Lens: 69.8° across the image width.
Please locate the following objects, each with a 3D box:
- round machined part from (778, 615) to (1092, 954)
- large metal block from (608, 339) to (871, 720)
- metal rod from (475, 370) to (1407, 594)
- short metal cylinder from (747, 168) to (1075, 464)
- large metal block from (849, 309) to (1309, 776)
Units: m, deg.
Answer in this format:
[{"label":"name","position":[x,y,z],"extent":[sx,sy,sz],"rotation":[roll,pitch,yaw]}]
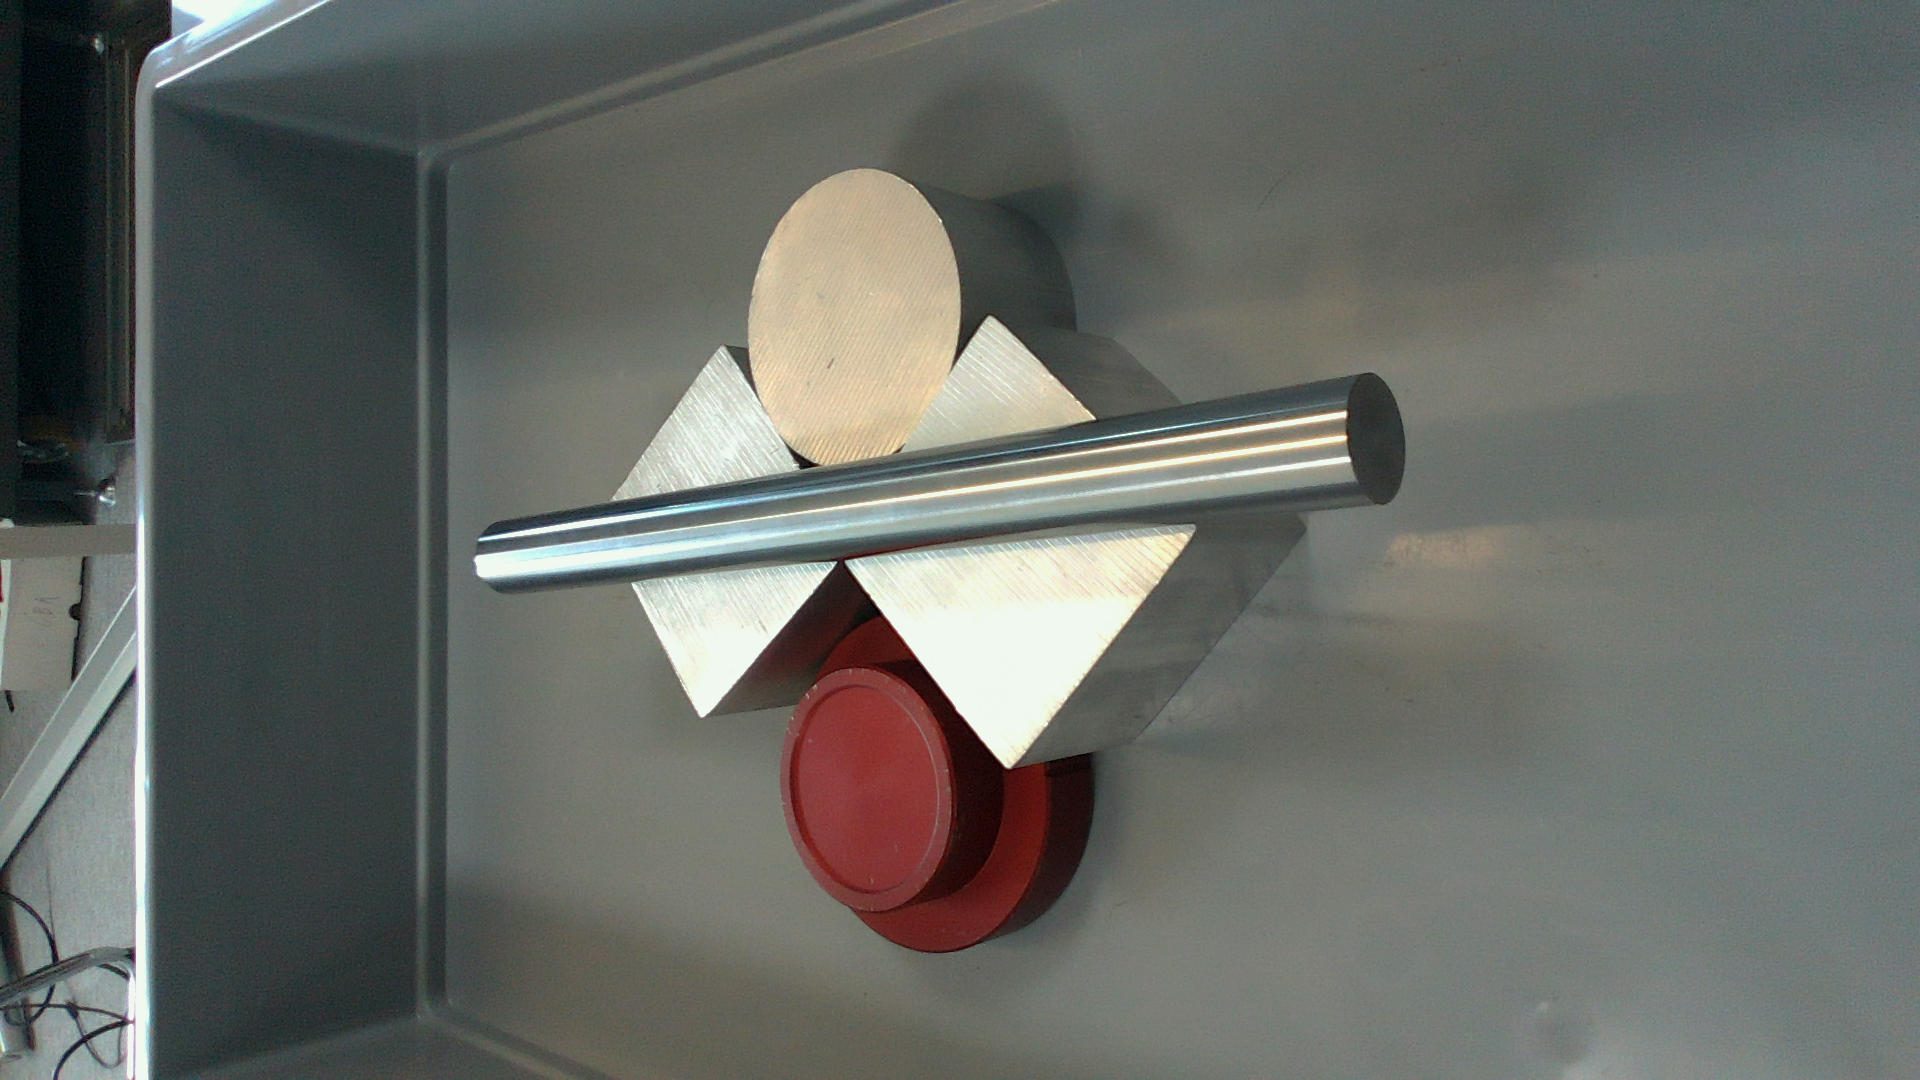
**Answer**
[{"label":"round machined part","position":[-0.014,0.069,0.393],"extent":[0.098,0.042,0.098],"rotation":[0,90,40]},{"label":"large metal block","position":[-0.058,-0.003,0.425],"extent":[0.080,0.050,0.080],"rotation":[-47,64,30]},{"label":"metal rod","position":[-0.035,-0.007,0.354],"extent":[0.299,0.025,0.025],"rotation":[-6,86,41]},{"label":"short metal cylinder","position":[-0.015,-0.060,0.389],"extent":[0.080,0.050,0.080],"rotation":[0,90,40]},{"label":"large metal block","position":[0.026,0.000,0.352],"extent":[0.080,0.050,0.080],"rotation":[50,120,29]}]
